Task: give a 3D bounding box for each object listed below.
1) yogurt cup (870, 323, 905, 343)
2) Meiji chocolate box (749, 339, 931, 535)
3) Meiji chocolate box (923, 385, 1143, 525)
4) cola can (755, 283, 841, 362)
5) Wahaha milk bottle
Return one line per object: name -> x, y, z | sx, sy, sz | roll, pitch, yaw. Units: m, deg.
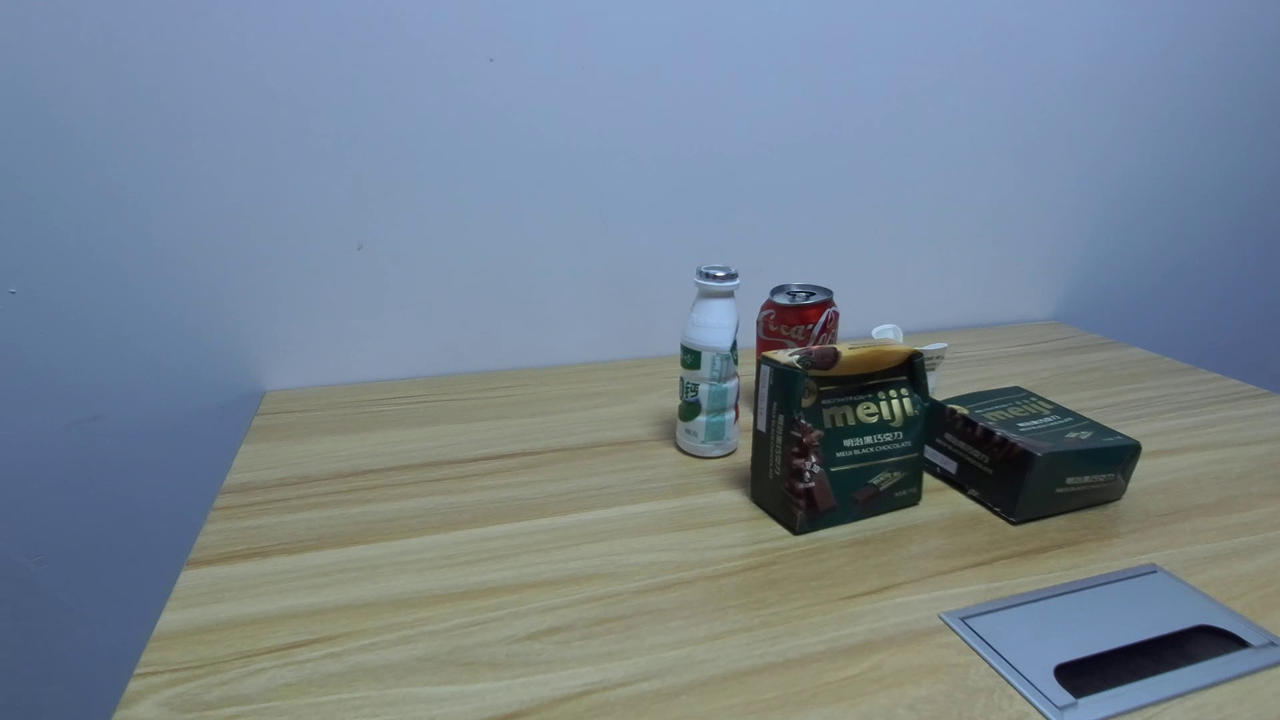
yogurt cup -> 0.249, 0.009, 0.662 | 0.067, 0.070, 0.067 | 2, 26, -1
Meiji chocolate box -> 0.138, 0.047, 0.483 | 0.118, 0.117, 0.051 | -7, 13, -24
Meiji chocolate box -> 0.284, 0.067, 0.530 | 0.116, 0.058, 0.122 | -4, 21, -22
cola can -> 0.139, -0.005, 0.614 | 0.066, 0.117, 0.072 | -8, 21, -28
Wahaha milk bottle -> 0.057, 0.002, 0.547 | 0.056, 0.147, 0.056 | 2, 18, 0
